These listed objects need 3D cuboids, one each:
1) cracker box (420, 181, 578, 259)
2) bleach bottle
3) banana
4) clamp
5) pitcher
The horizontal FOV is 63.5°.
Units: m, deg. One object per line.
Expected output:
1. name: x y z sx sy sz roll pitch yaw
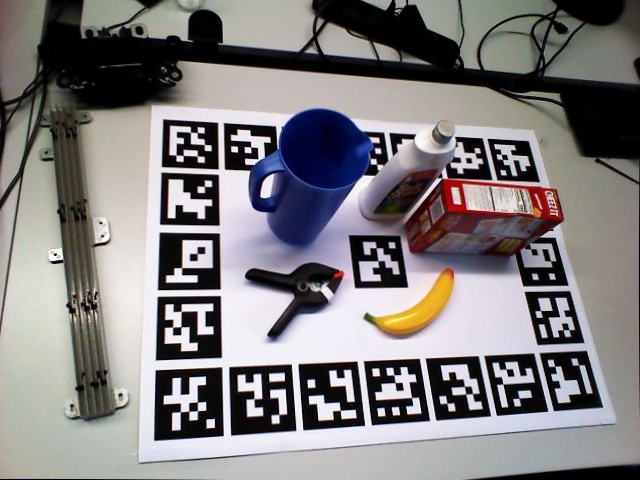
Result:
1. cracker box: 0.304 -0.032 0.913 0.213 0.165 0.071 2 63 -11
2. bleach bottle: 0.153 -0.113 0.884 0.102 0.252 0.067 1 65 -13
3. banana: 0.188 0.112 0.916 0.196 0.039 0.074 -34 77 -24
4. clamp: -0.027 0.085 0.869 0.164 0.037 0.121 -15 69 -21
5. pitcher: -0.022 -0.087 0.808 0.188 0.244 0.133 -17 70 -23
